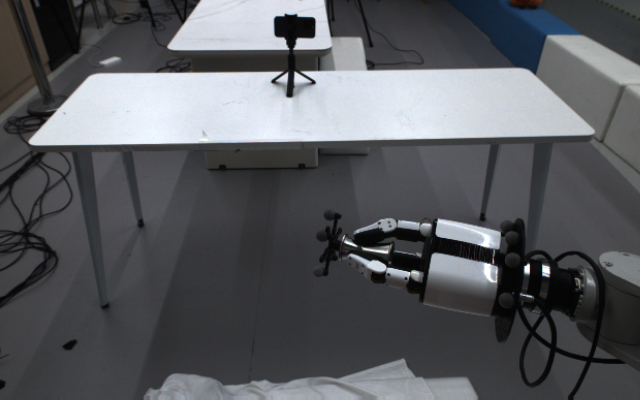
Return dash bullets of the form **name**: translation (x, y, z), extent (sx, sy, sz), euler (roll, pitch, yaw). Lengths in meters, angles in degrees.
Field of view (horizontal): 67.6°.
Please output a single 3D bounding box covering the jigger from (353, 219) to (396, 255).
- **jigger**: translation (0.070, 0.069, 0.662), extent (0.071, 0.043, 0.043), euler (11, 36, 16)
